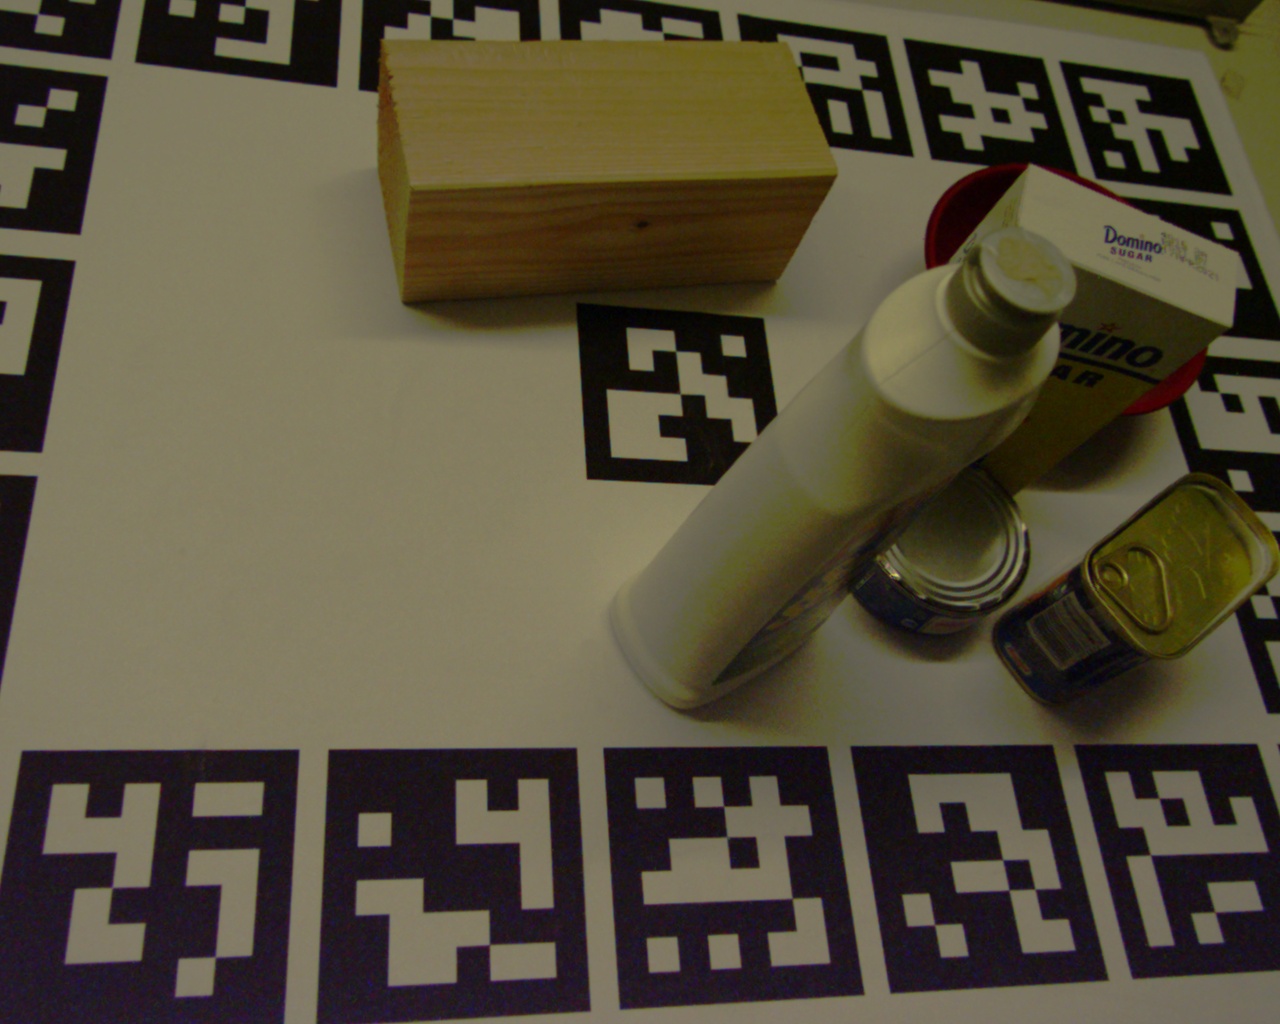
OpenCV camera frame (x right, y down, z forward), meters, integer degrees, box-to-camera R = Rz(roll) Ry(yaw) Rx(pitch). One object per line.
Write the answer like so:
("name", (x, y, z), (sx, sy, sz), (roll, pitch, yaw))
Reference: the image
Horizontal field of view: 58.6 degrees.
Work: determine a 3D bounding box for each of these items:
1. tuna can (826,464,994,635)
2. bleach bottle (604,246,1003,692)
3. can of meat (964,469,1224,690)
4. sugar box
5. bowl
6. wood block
("tuna can", (0.130, 0.018, 0.571), (0.085, 0.034, 0.086), (5, 66, -11))
("bleach bottle", (0.061, -0.010, 0.447), (0.102, 0.251, 0.068), (-23, 71, -24))
("can of meat", (0.219, 0.036, 0.563), (0.101, 0.084, 0.058), (-28, 71, -27))
("sugar box", (0.164, -0.067, 0.542), (0.093, 0.176, 0.045), (20, 63, -1))
("bowl", (0.219, -0.111, 0.651), (0.161, 0.055, 0.162), (4, 63, -8))
("wood block", (-0.031, -0.168, 0.600), (0.204, 0.090, 0.091), (-7, 70, -18))
